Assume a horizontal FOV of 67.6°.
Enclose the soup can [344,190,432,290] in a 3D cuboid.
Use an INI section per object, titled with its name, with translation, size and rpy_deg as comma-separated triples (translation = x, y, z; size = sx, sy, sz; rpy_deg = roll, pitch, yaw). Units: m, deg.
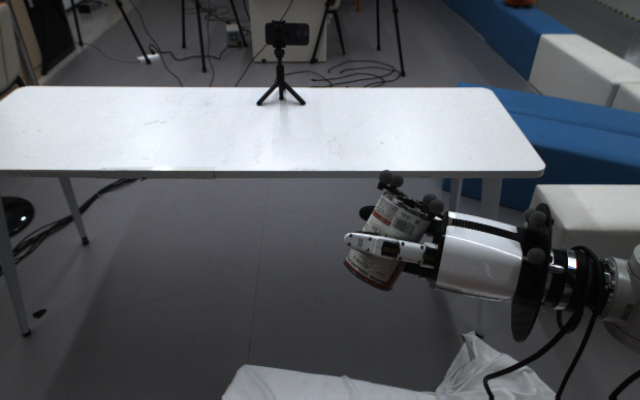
[soup can]
translation = 0.083, 0.048, 0.584
size = 0.067, 0.101, 0.067
rpy_deg = 28, 9, -5
